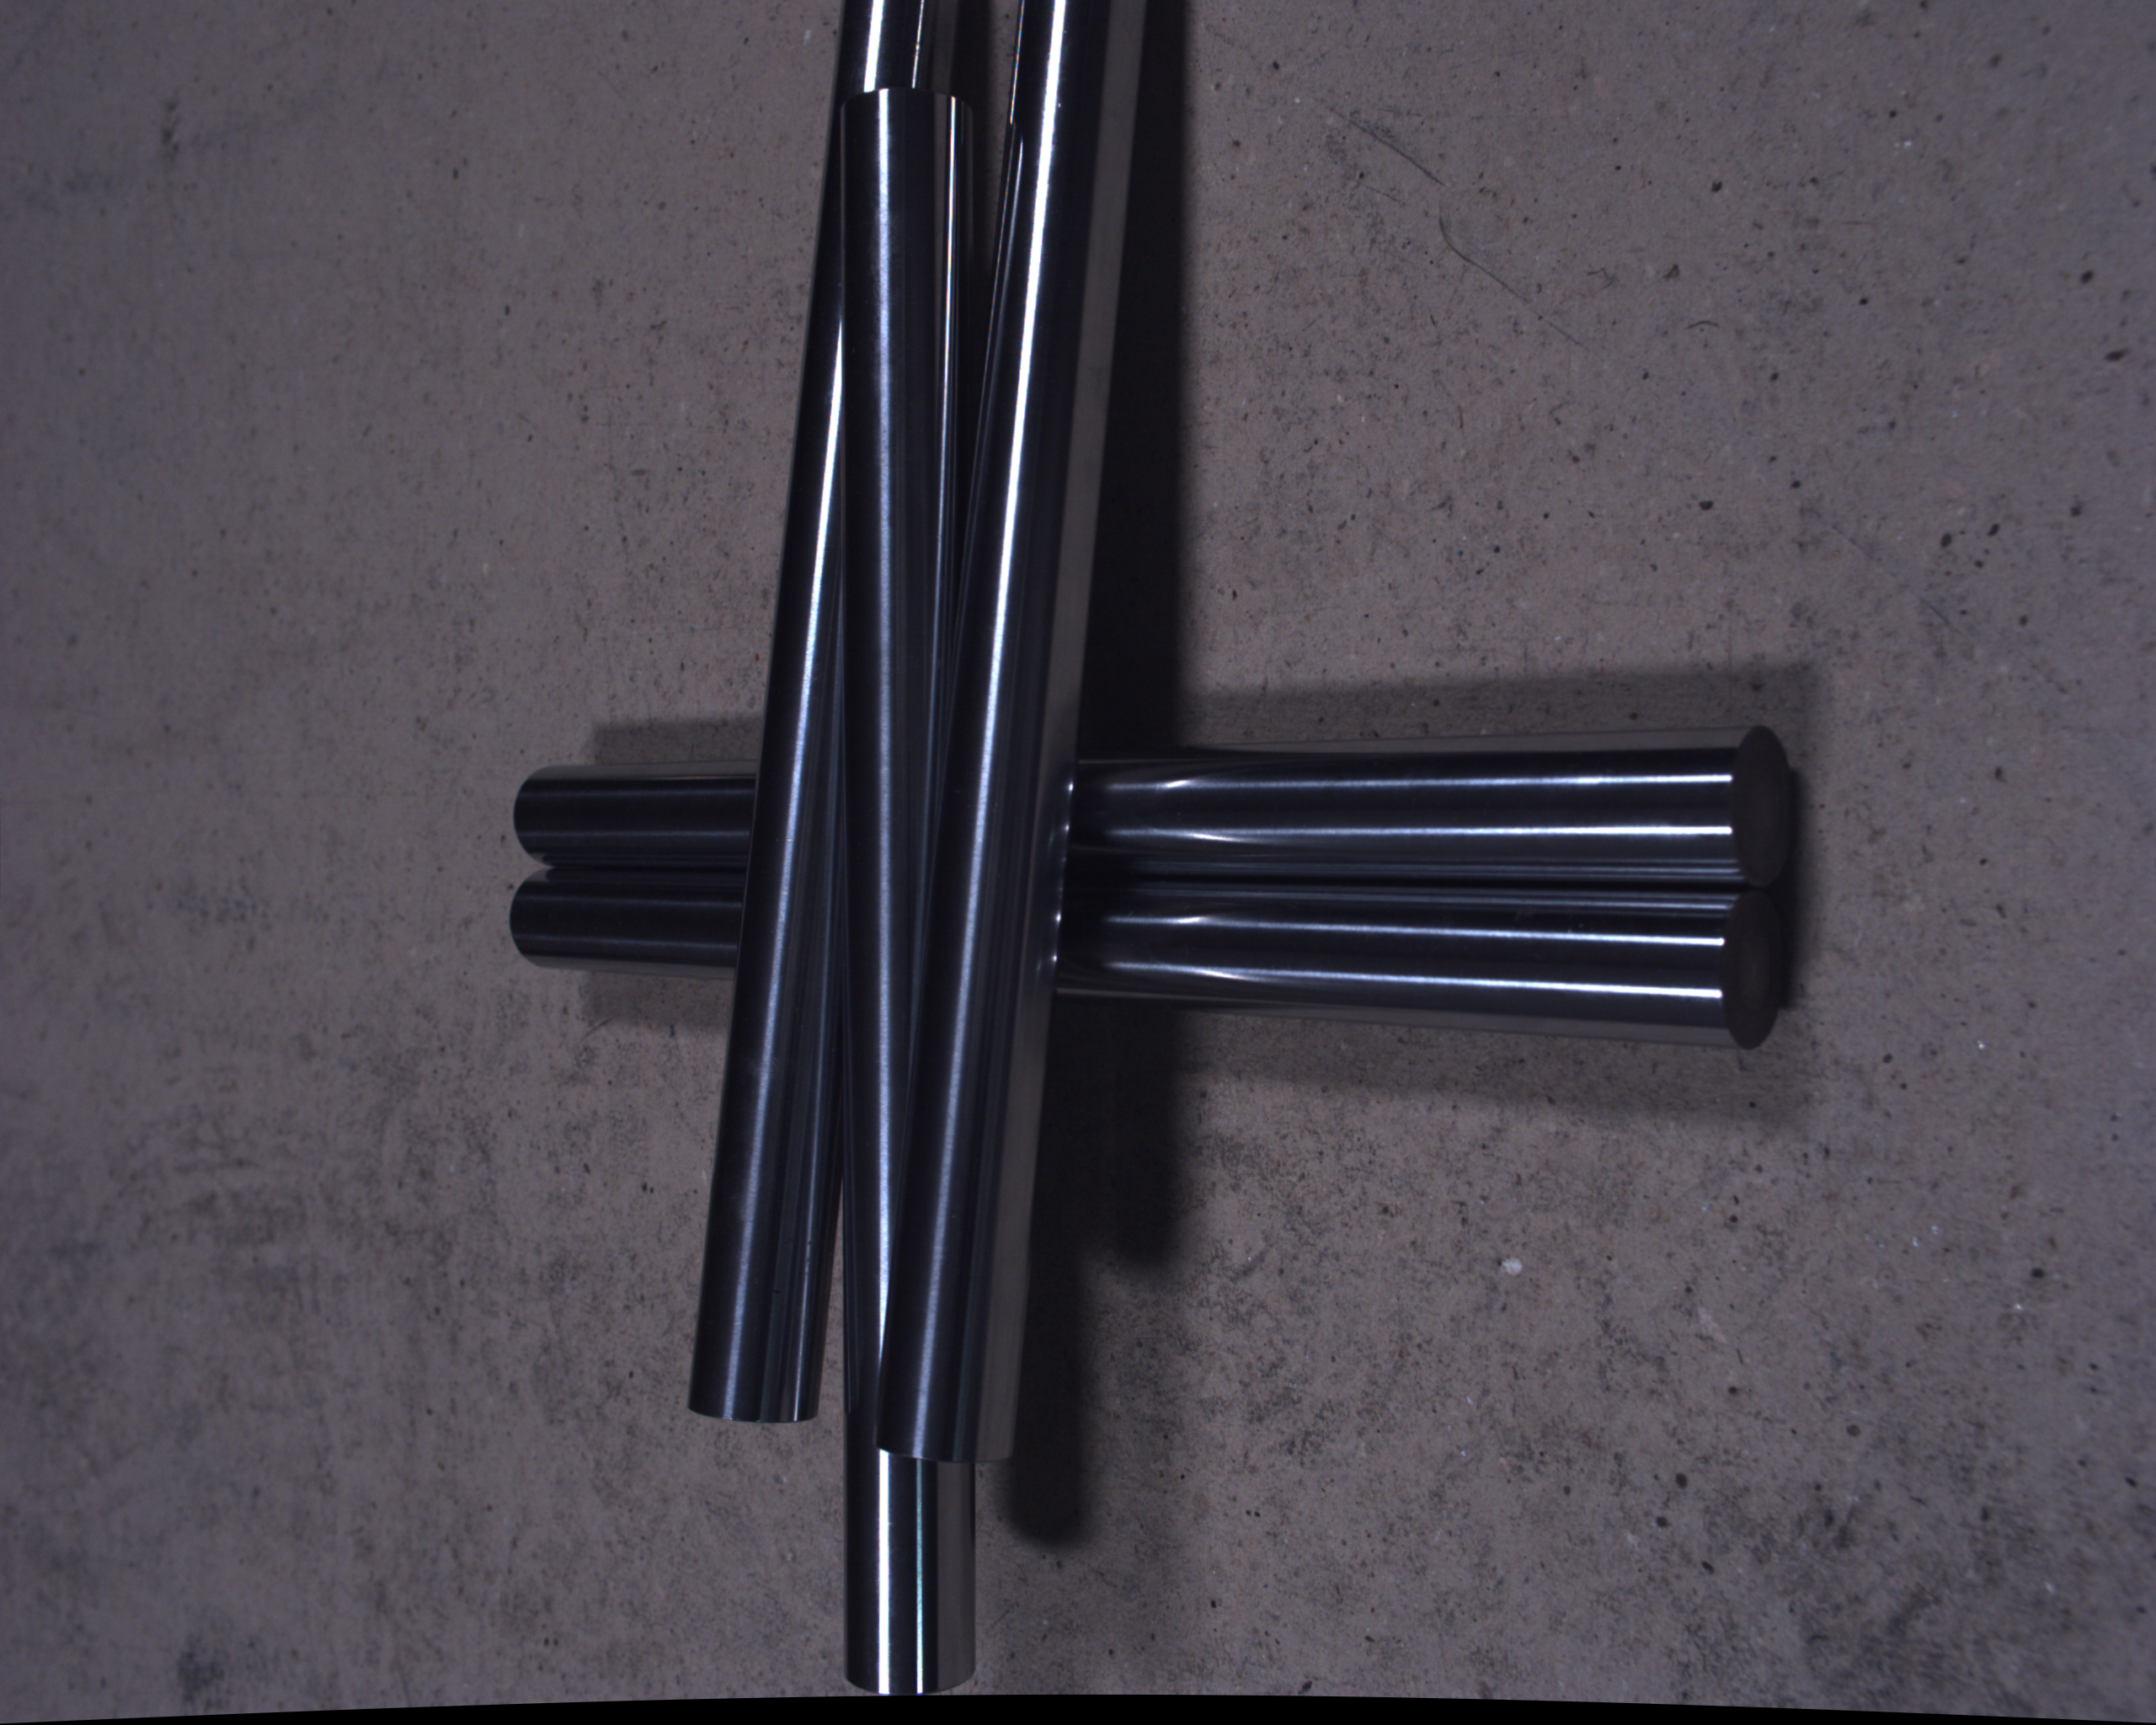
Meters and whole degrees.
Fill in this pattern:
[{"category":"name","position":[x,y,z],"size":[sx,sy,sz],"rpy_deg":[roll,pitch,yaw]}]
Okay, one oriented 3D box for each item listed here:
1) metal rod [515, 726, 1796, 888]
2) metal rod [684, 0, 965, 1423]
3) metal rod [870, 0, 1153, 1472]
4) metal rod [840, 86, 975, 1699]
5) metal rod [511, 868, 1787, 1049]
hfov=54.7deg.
[{"category":"metal rod","position":[-0.011,-0.010,0.414],"size":[0.300,0.025,0.025],"rpy_deg":[1,91,39]},{"category":"metal rod","position":[-0.049,-0.042,0.417],"size":[0.025,0.025,0.298],"rpy_deg":[0,82,39]},{"category":"metal rod","position":[-0.010,-0.042,0.385],"size":[0.025,0.025,0.298],"rpy_deg":[0,82,39]},{"category":"metal rod","position":[-0.032,0.005,0.398],"size":[0.025,0.025,0.298],"rpy_deg":[0,90,39]},{"category":"metal rod","position":[-0.012,0.015,0.415],"size":[0.300,0.025,0.025],"rpy_deg":[1,91,39]}]
